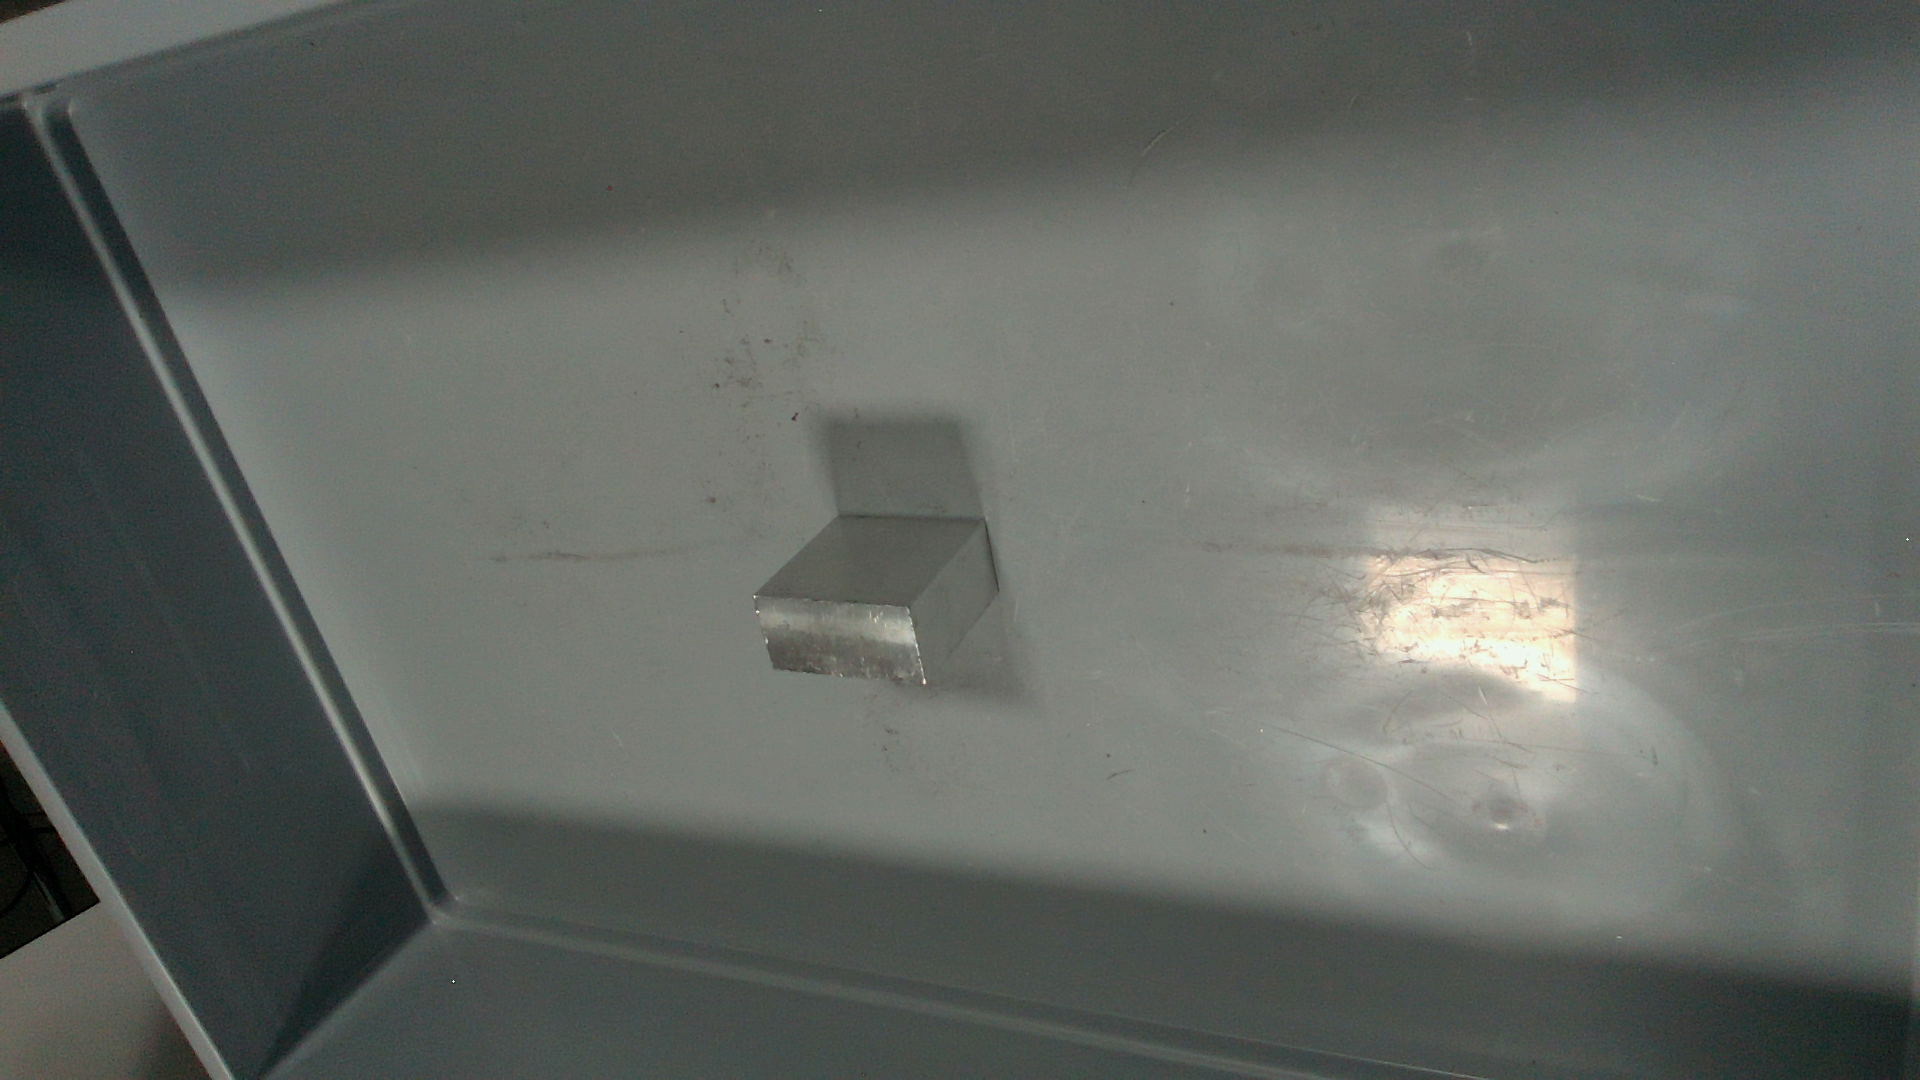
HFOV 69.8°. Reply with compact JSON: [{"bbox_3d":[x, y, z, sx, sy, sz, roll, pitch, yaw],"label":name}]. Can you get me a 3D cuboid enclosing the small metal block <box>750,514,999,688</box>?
[{"bbox_3d":[-0.023,0.016,0.395,0.050,0.050,0.025,3,120,27],"label":"small metal block"}]
